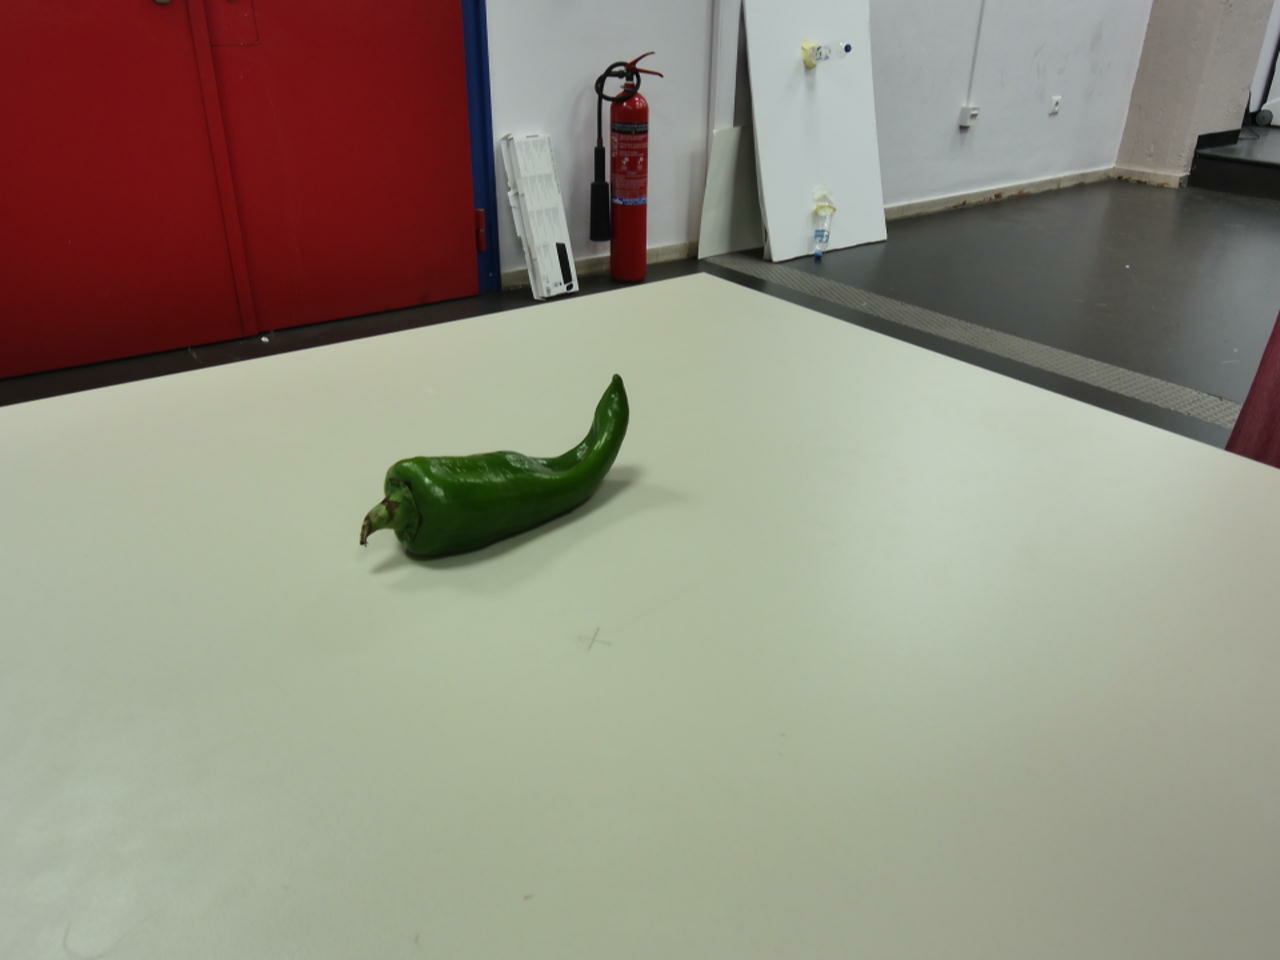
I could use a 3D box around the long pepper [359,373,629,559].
[{"bbox_3d":[-0.069,-0.006,0.530,0.175,0.065,0.058,-19,31,-35],"label":"long pepper"}]
